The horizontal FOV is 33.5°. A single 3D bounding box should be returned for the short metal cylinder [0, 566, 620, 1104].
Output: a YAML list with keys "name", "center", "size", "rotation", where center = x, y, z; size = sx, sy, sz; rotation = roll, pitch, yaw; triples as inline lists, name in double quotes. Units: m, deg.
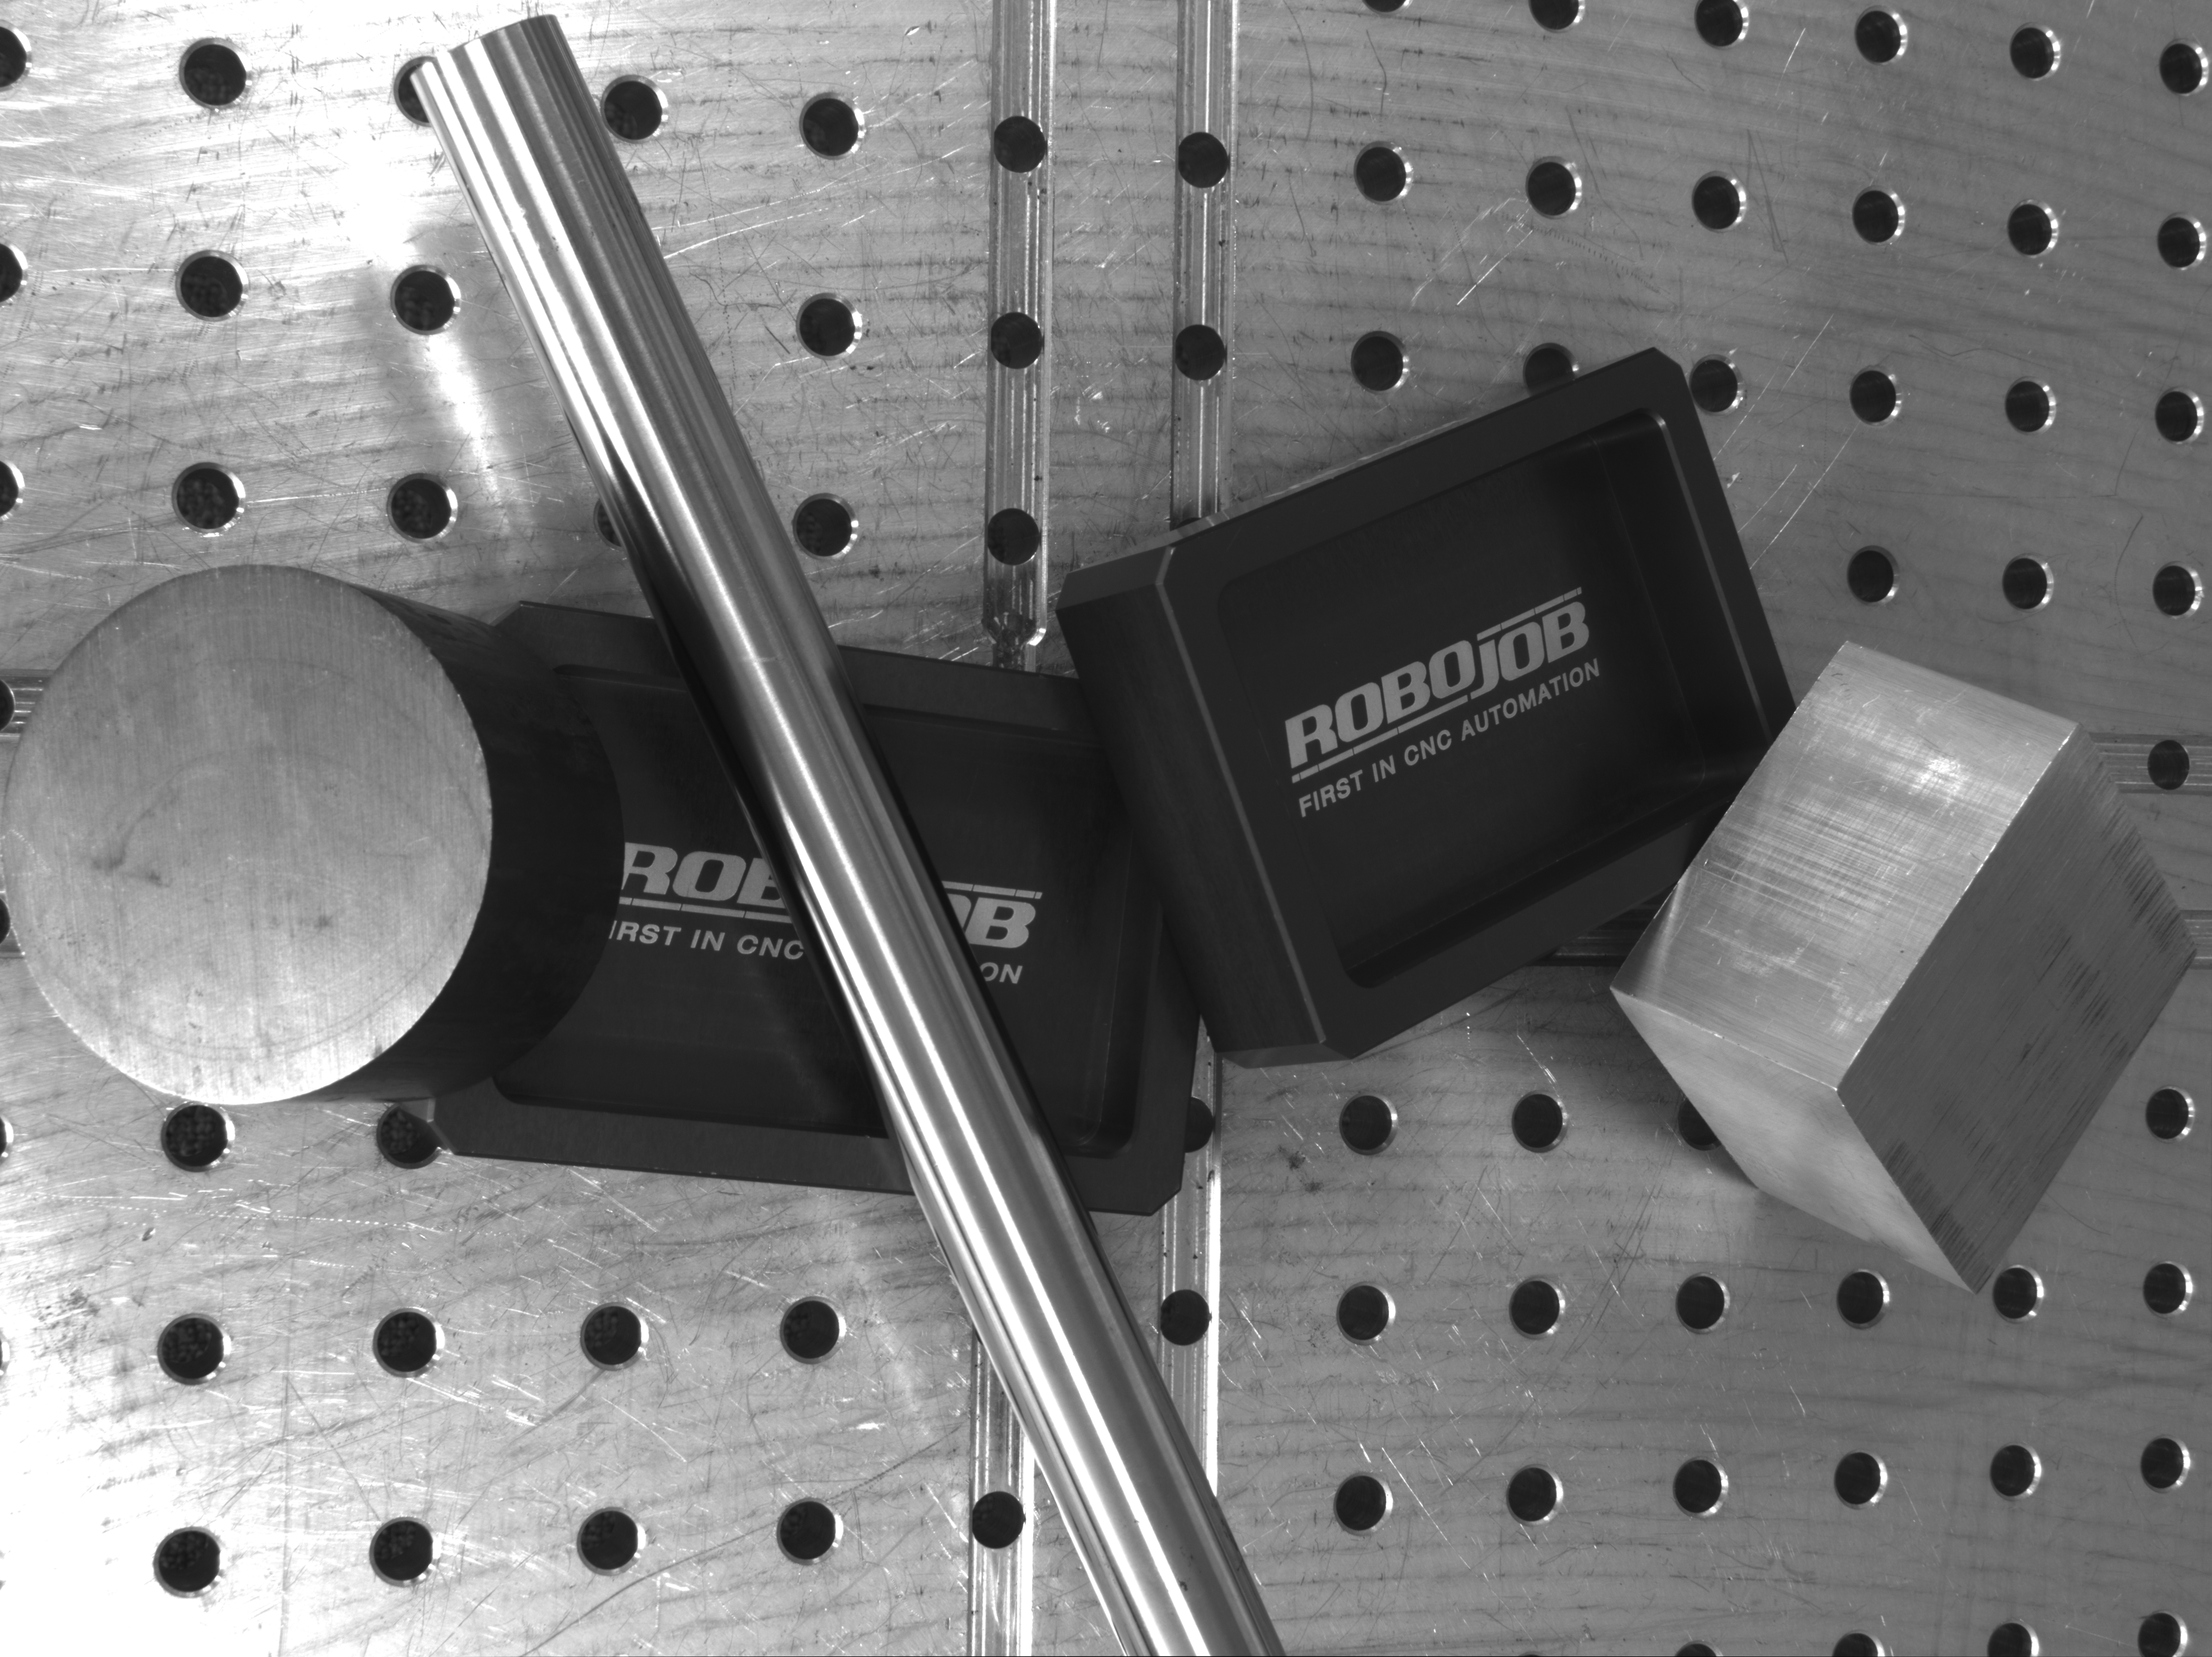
- name: "short metal cylinder"
  center: [-0.122, 0.002, 0.569]
  size: [0.080, 0.050, 0.080]
  rotation: [-1, 86, 15]

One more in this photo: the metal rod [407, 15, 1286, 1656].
- name: "metal rod"
  center: [-0.039, 0.013, 0.600]
  size: [0.025, 0.025, 0.300]
  rotation: [-26, 99, -18]

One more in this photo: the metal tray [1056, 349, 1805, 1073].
- name: "metal tray"
  center: [0.062, -0.022, 0.646]
  size: [0.130, 0.030, 0.090]
  rotation: [-25, 99, -35]

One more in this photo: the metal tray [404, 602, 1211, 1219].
- name: "metal tray"
  center: [-0.048, 0.015, 0.626]
  size: [0.130, 0.030, 0.090]
  rotation: [7, 87, -20]

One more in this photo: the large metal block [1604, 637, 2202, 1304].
- name: "large metal block"
  center: [0.146, 0.026, 0.667]
  size: [0.080, 0.050, 0.080]
  rotation: [-53, 137, -12]
